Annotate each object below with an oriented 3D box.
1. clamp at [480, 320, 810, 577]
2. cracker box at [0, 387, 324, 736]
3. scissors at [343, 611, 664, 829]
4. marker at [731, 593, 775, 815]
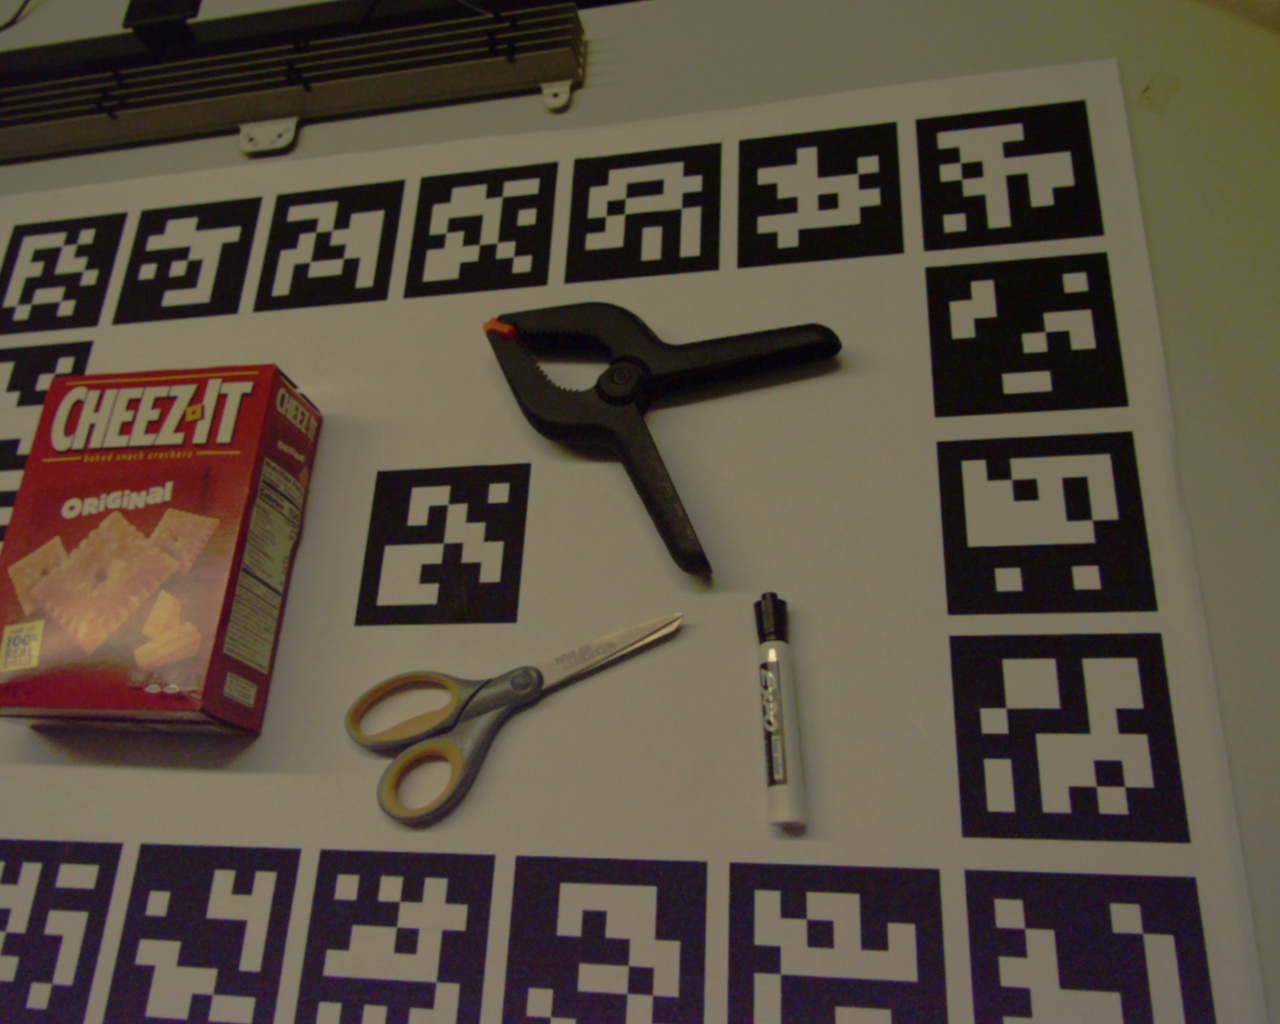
[{"bbox_3d":[-0.019,-0.069,0.726,0.205,0.036,0.165,27,75,23],"label":"clamp"},{"bbox_3d":[-0.306,0.029,0.723,0.165,0.071,0.214,-2,66,14],"label":"cracker box"},{"bbox_3d":[-0.078,0.104,0.659,0.202,0.016,0.088,-28,62,-1],"label":"scissors"},{"bbox_3d":[0.061,0.102,0.622,0.020,0.019,0.121,-6,65,12],"label":"marker"}]
